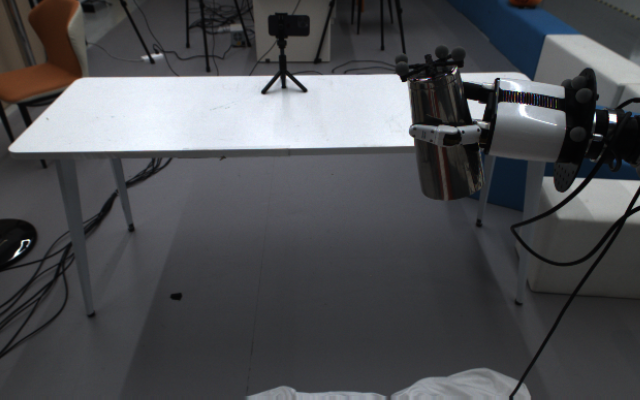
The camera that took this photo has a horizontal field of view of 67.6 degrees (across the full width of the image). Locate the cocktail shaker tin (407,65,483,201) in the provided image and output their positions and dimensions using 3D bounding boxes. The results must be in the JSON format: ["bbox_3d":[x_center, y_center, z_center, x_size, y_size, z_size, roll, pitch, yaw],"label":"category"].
[{"bbox_3d":[0.169,-0.096,0.663,0.093,0.170,0.093,-15,29,8],"label":"cocktail shaker tin"}]
